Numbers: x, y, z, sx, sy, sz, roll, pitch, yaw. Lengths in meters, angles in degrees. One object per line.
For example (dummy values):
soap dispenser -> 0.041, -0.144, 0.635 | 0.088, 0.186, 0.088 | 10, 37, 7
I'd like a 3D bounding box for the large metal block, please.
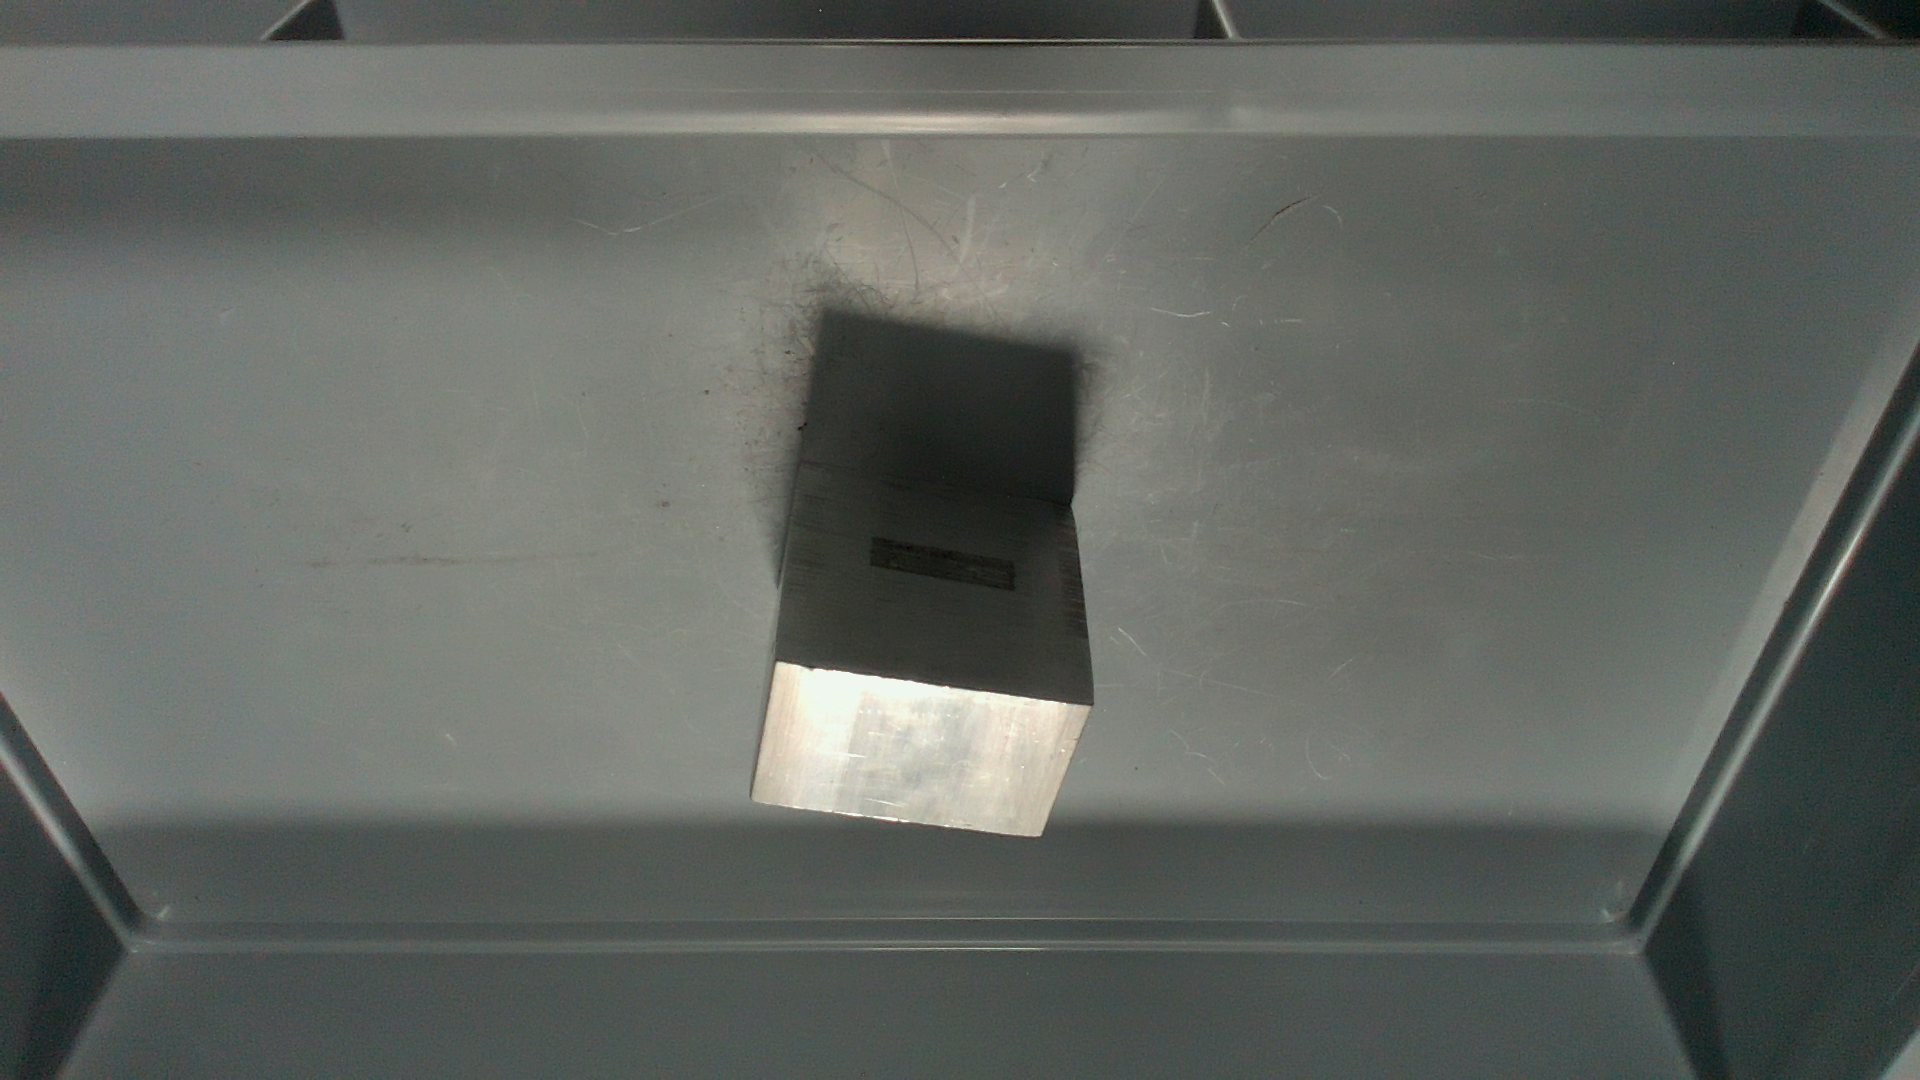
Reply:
large metal block -> -0.010, 0.029, 0.377 | 0.080, 0.080, 0.050 | 9, 130, -8
